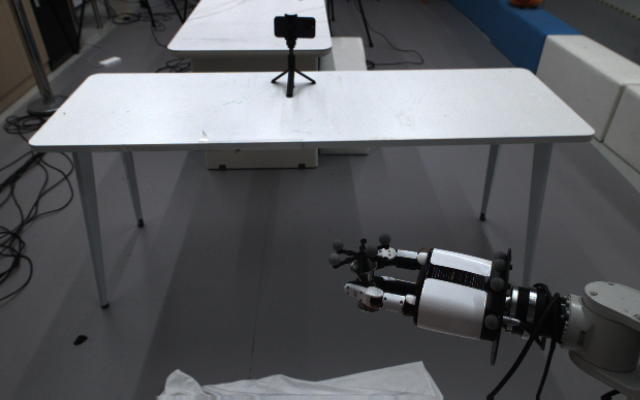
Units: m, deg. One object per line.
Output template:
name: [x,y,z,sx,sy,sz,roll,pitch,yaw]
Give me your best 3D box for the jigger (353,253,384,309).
jigger: [0.071,0.123,0.712,0.043,0.071,0.043,-11,24,5]
